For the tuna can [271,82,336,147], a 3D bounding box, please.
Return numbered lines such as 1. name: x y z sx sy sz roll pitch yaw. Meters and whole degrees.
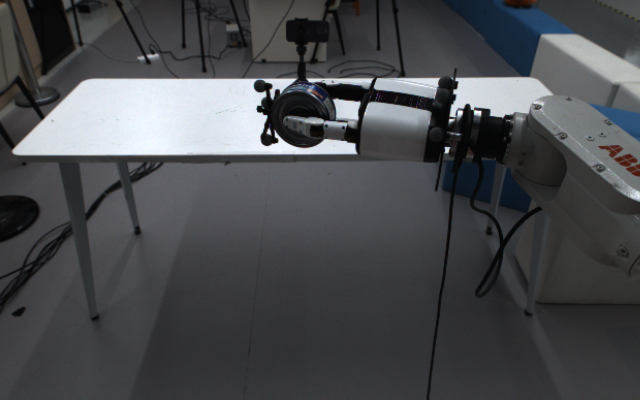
1. tuna can: -0.021 -0.118 0.666 0.085 0.085 0.034 9 33 10
